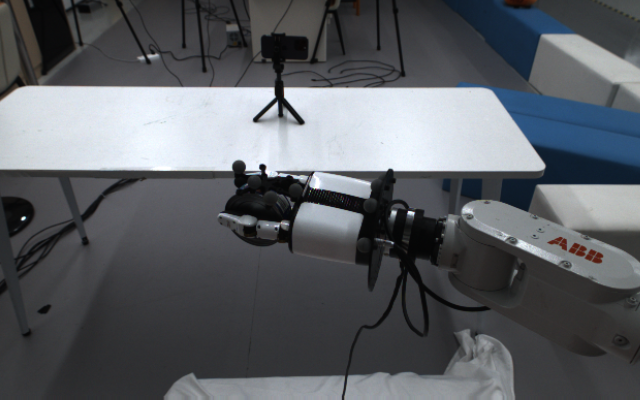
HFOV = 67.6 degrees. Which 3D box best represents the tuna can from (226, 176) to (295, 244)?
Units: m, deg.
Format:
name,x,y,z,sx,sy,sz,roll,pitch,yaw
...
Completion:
name,x,y,z,sx,sy,sz,roll,pitch,yaw
tuna can,-0.079,0.018,0.648,0.085,0.085,0.034,12,33,14
